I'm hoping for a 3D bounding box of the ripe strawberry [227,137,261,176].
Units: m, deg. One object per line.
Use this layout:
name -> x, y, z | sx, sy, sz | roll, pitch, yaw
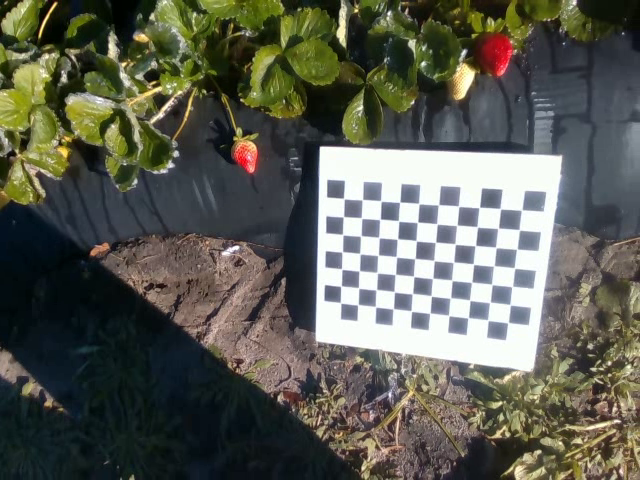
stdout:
ripe strawberry -> -0.096, -0.110, 0.782 | 0.039, 0.053, 0.040 | -17, -8, 20
